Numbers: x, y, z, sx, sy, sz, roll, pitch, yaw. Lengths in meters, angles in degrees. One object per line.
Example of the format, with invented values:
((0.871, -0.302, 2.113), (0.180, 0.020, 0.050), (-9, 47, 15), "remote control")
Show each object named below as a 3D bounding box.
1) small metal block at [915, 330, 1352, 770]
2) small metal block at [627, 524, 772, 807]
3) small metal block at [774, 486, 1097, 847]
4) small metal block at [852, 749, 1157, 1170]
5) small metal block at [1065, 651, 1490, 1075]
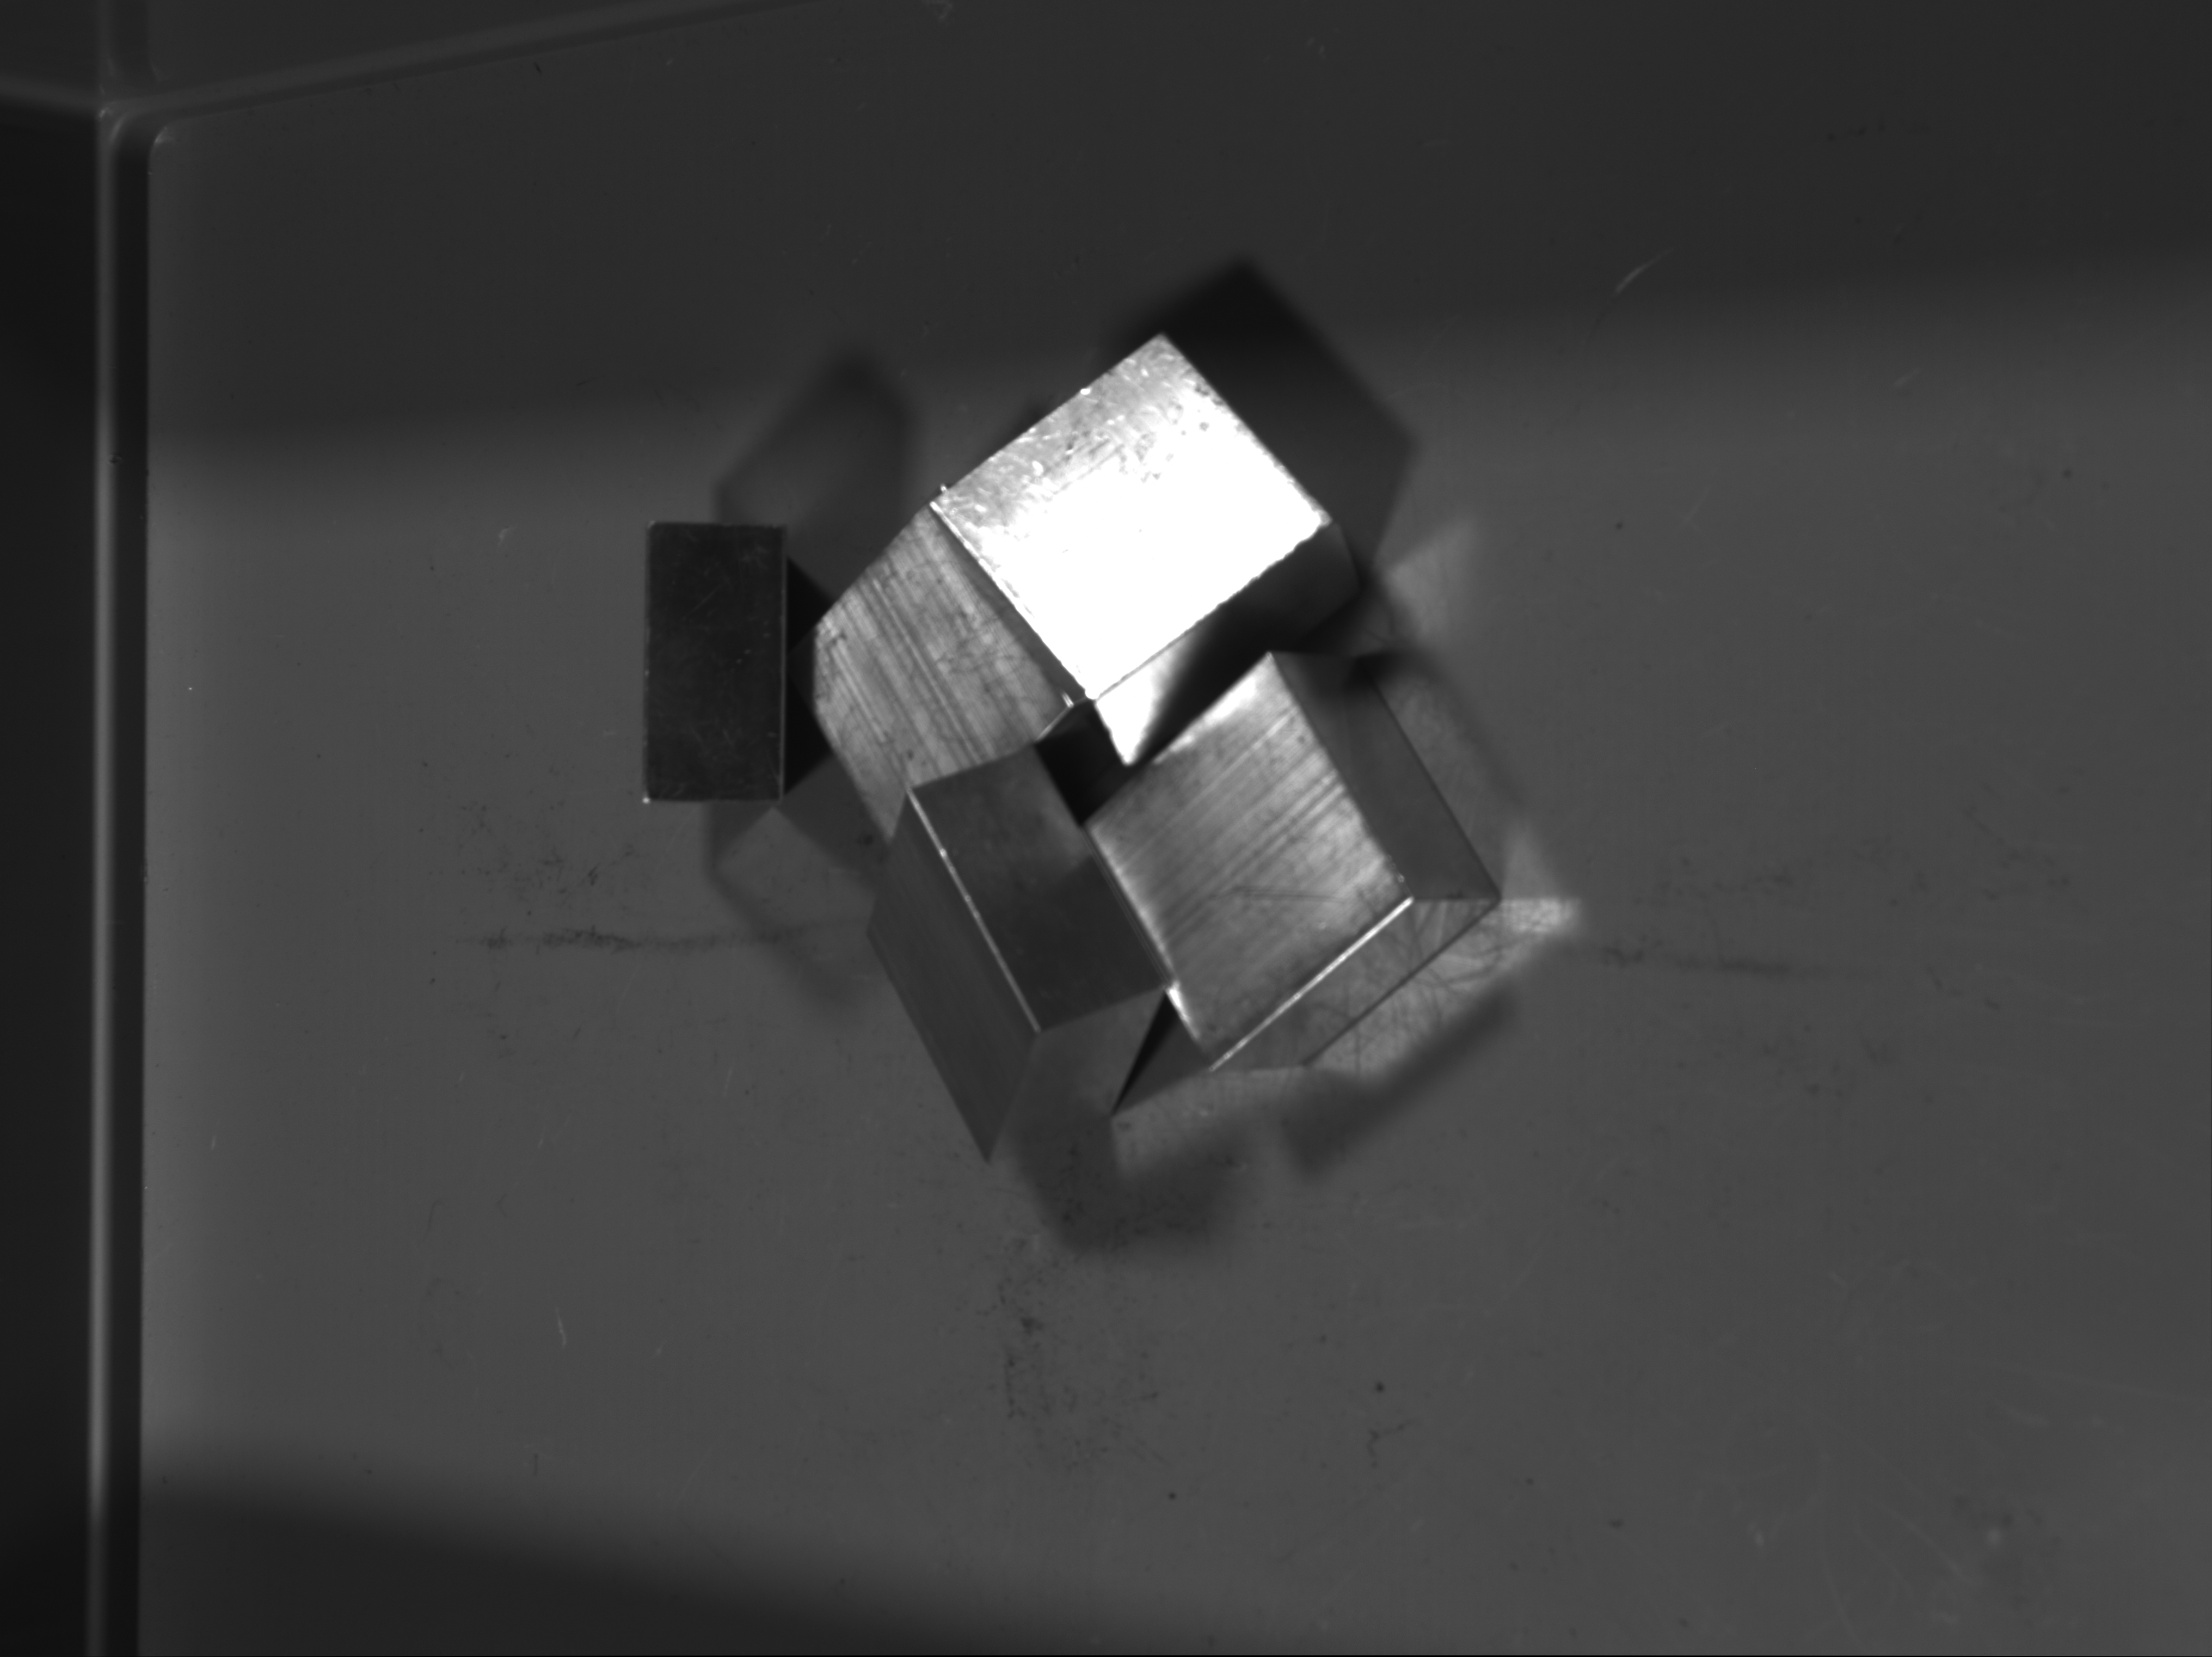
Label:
((0.005, -0.047, 0.616), (0.050, 0.025, 0.050), (-37, 62, -5), "small metal block")
((-0.076, -0.029, 0.679), (0.050, 0.025, 0.050), (180, 91, -83), "small metal block")
((-0.026, -0.026, 0.656), (0.050, 0.025, 0.050), (-45, 63, 30), "small metal block")
((-0.019, 0.023, 0.635), (0.050, 0.025, 0.050), (60, 155, 23), "small metal block")
((0.028, 0.006, 0.612), (0.050, 0.025, 0.050), (-43, 64, 31), "small metal block")
